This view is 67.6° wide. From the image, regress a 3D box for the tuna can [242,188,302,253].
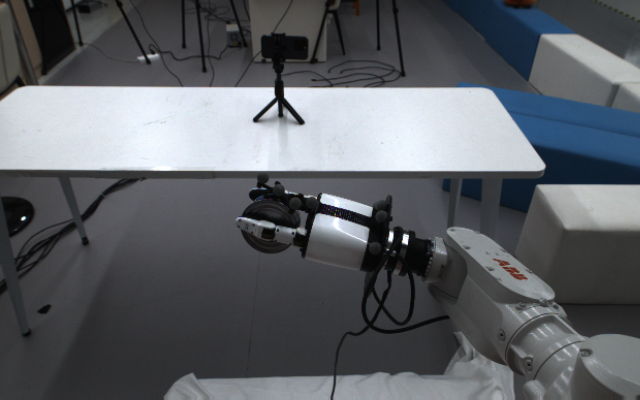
[{"bbox_3d":[-0.071,0.034,0.722,0.085,0.085,0.034,7,17,7],"label":"tuna can"}]
